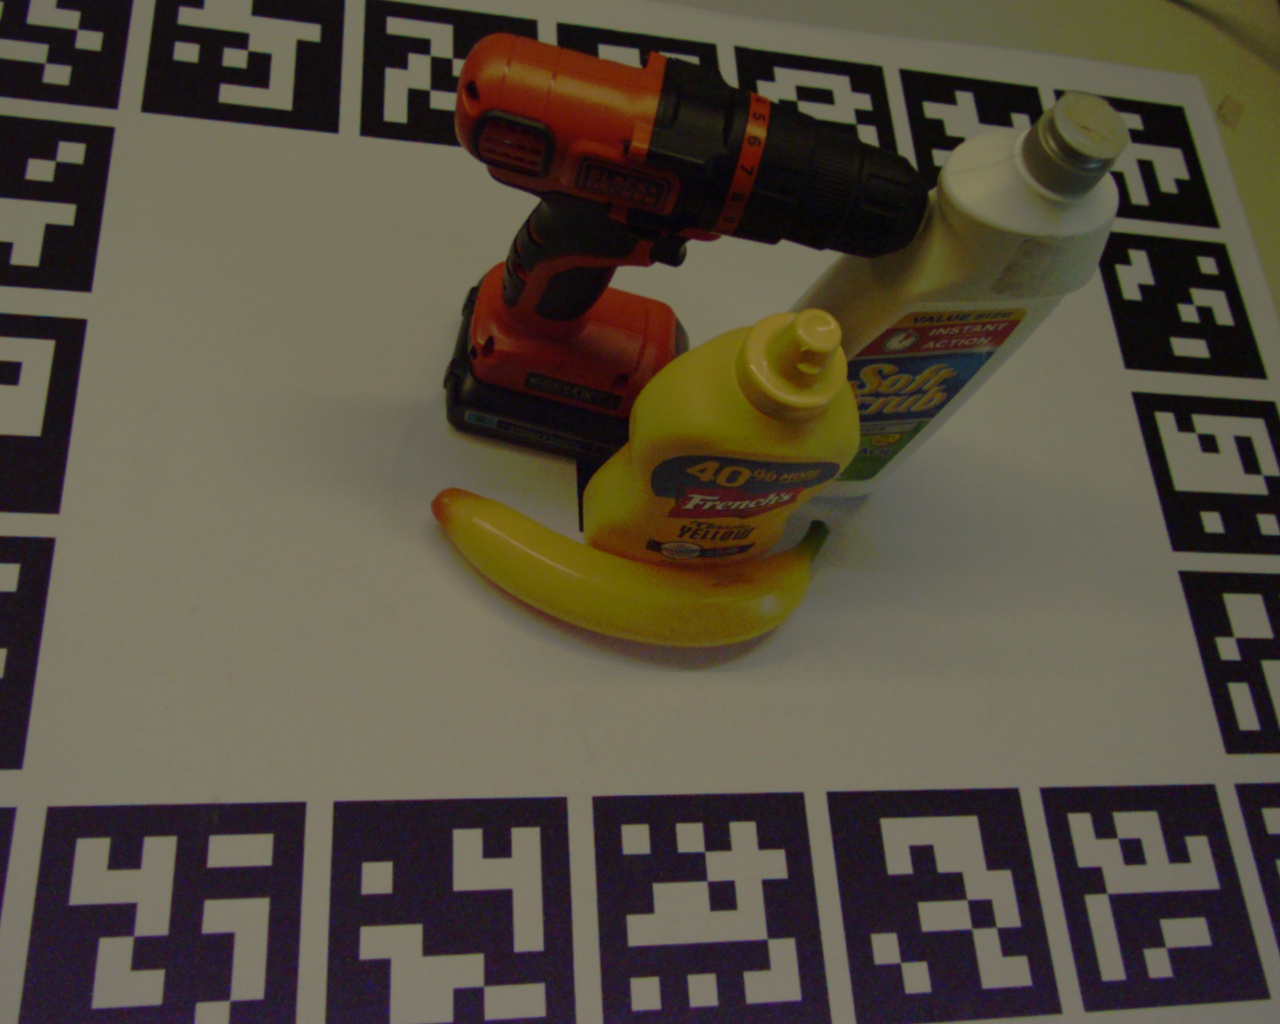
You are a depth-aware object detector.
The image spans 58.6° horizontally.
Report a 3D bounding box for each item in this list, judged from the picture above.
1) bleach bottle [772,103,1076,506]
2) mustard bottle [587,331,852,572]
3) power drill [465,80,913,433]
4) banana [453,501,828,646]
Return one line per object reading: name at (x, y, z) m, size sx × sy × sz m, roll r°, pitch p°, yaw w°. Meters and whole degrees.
bleach bottle at (0.112, -0.088, 0.533) m, size 0.102 × 0.251 × 0.068 m, roll 5°, pitch 62°, yaw -13°
mustard bottle at (0.041, -0.028, 0.518) m, size 0.095 × 0.192 × 0.058 m, roll 3°, pitch 68°, yaw -15°
power drill at (0.003, -0.103, 0.516) m, size 0.183 × 0.188 × 0.057 m, roll 14°, pitch 65°, yaw -10°
banana at (0.002, 0.030, 0.580) m, size 0.196 × 0.039 × 0.074 m, roll 6°, pitch 68°, yaw -9°
